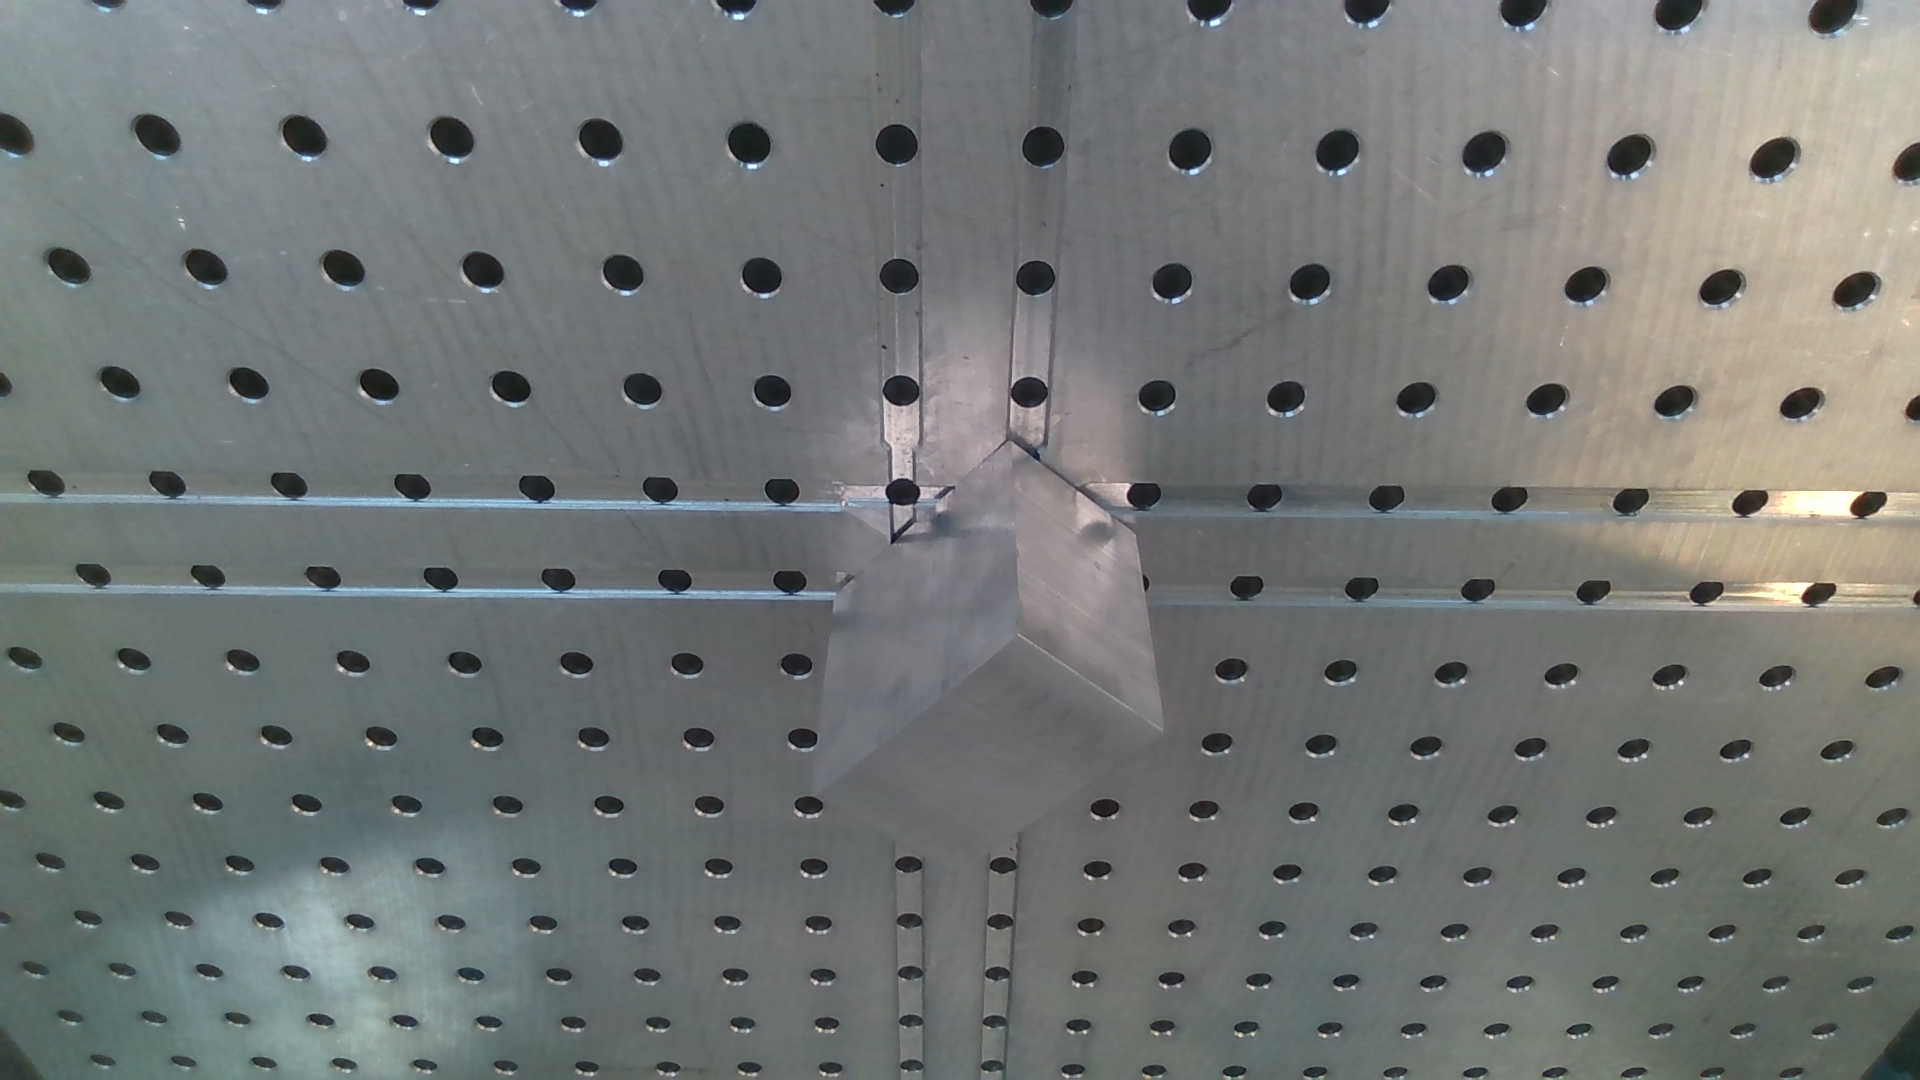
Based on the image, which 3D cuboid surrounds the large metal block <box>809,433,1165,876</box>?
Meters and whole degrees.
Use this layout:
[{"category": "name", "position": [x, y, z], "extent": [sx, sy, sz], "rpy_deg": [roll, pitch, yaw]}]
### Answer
[{"category": "large metal block", "position": [0.006, 0.032, 0.381], "extent": [0.050, 0.080, 0.080], "rpy_deg": [34, 123, -25]}]
